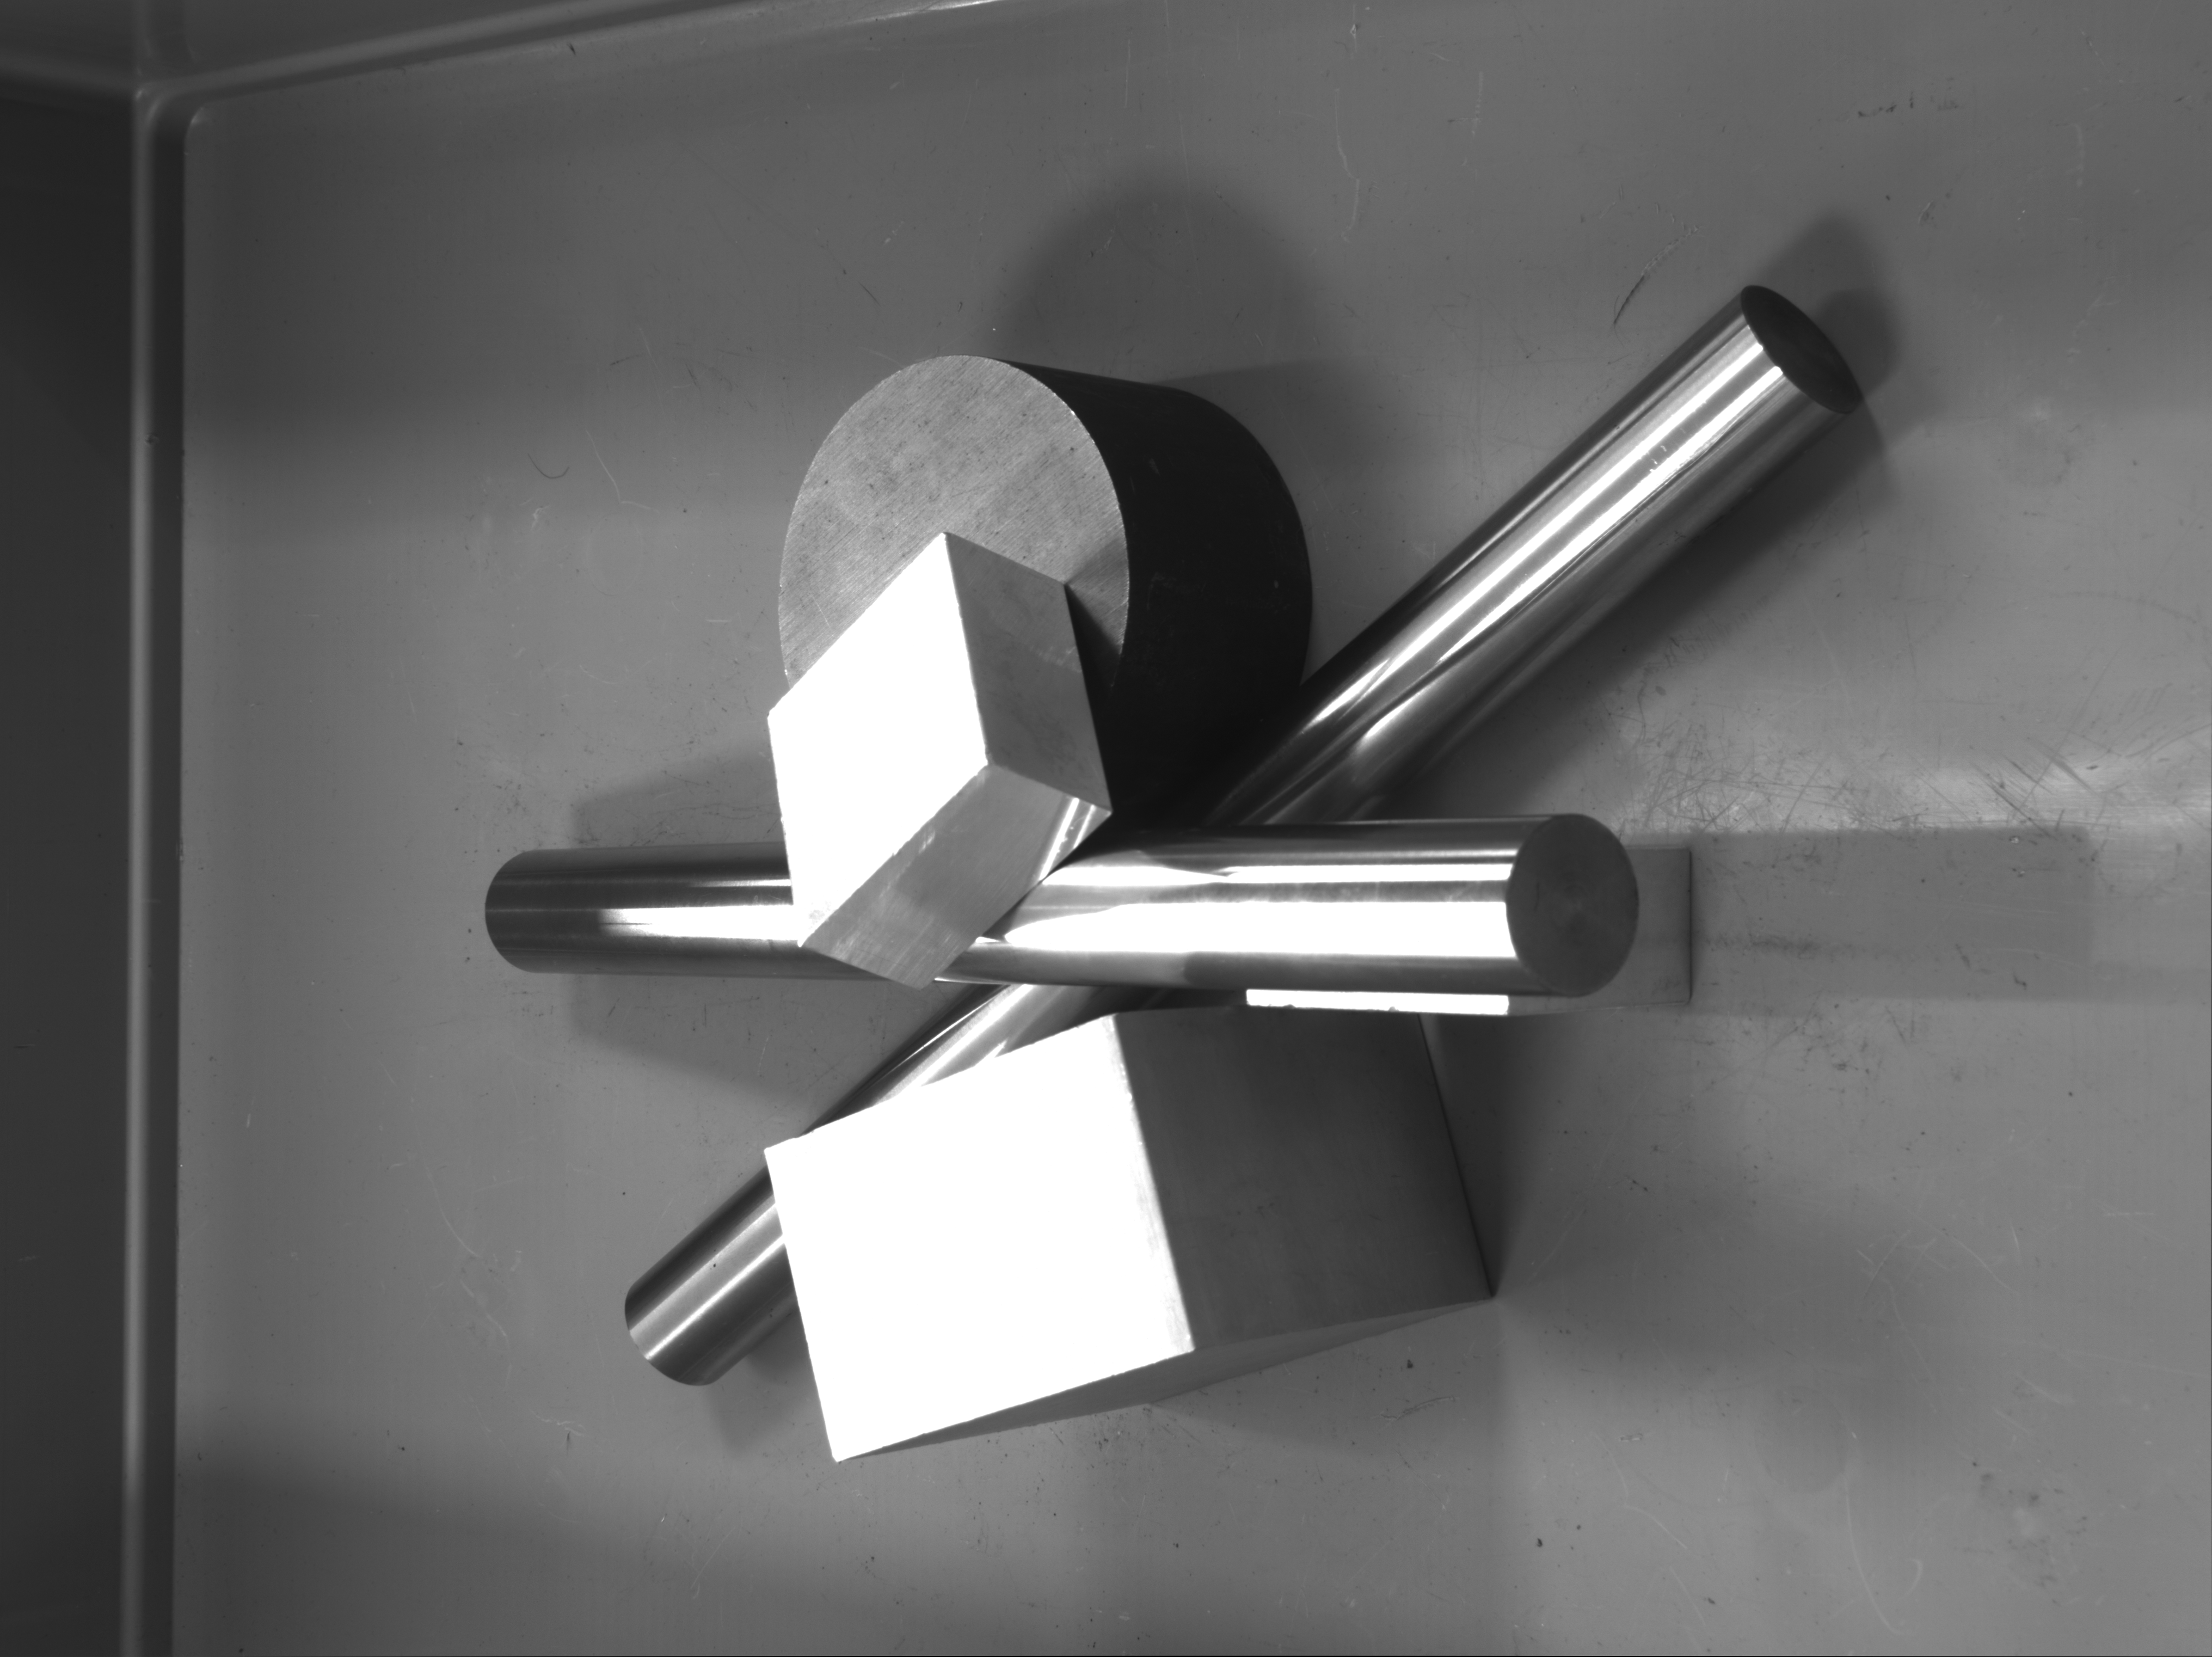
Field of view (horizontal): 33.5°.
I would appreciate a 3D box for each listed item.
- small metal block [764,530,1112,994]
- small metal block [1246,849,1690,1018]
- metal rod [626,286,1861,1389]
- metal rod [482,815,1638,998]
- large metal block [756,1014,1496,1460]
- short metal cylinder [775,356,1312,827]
[{"bbox_3d":[-0.028,-0.010,0.591,0.050,0.025,0.050,-43,41,32],"label":"small metal block"},{"bbox_3d":[0.057,0.016,0.580,0.050,0.050,0.025,0,90,41],"label":"small metal block"},{"bbox_3d":[0.011,0.013,0.635,0.299,0.025,0.025,-42,64,32],"label":"metal rod"},{"bbox_3d":[-0.026,0.014,0.619,0.299,0.025,0.025,-2,89,54],"label":"metal rod"},{"bbox_3d":[0.003,0.066,0.604,0.080,0.080,0.050,-23,75,38],"label":"large metal block"},{"bbox_3d":[-0.011,-0.039,0.637,0.080,0.050,0.080,-1,88,40],"label":"short metal cylinder"}]
